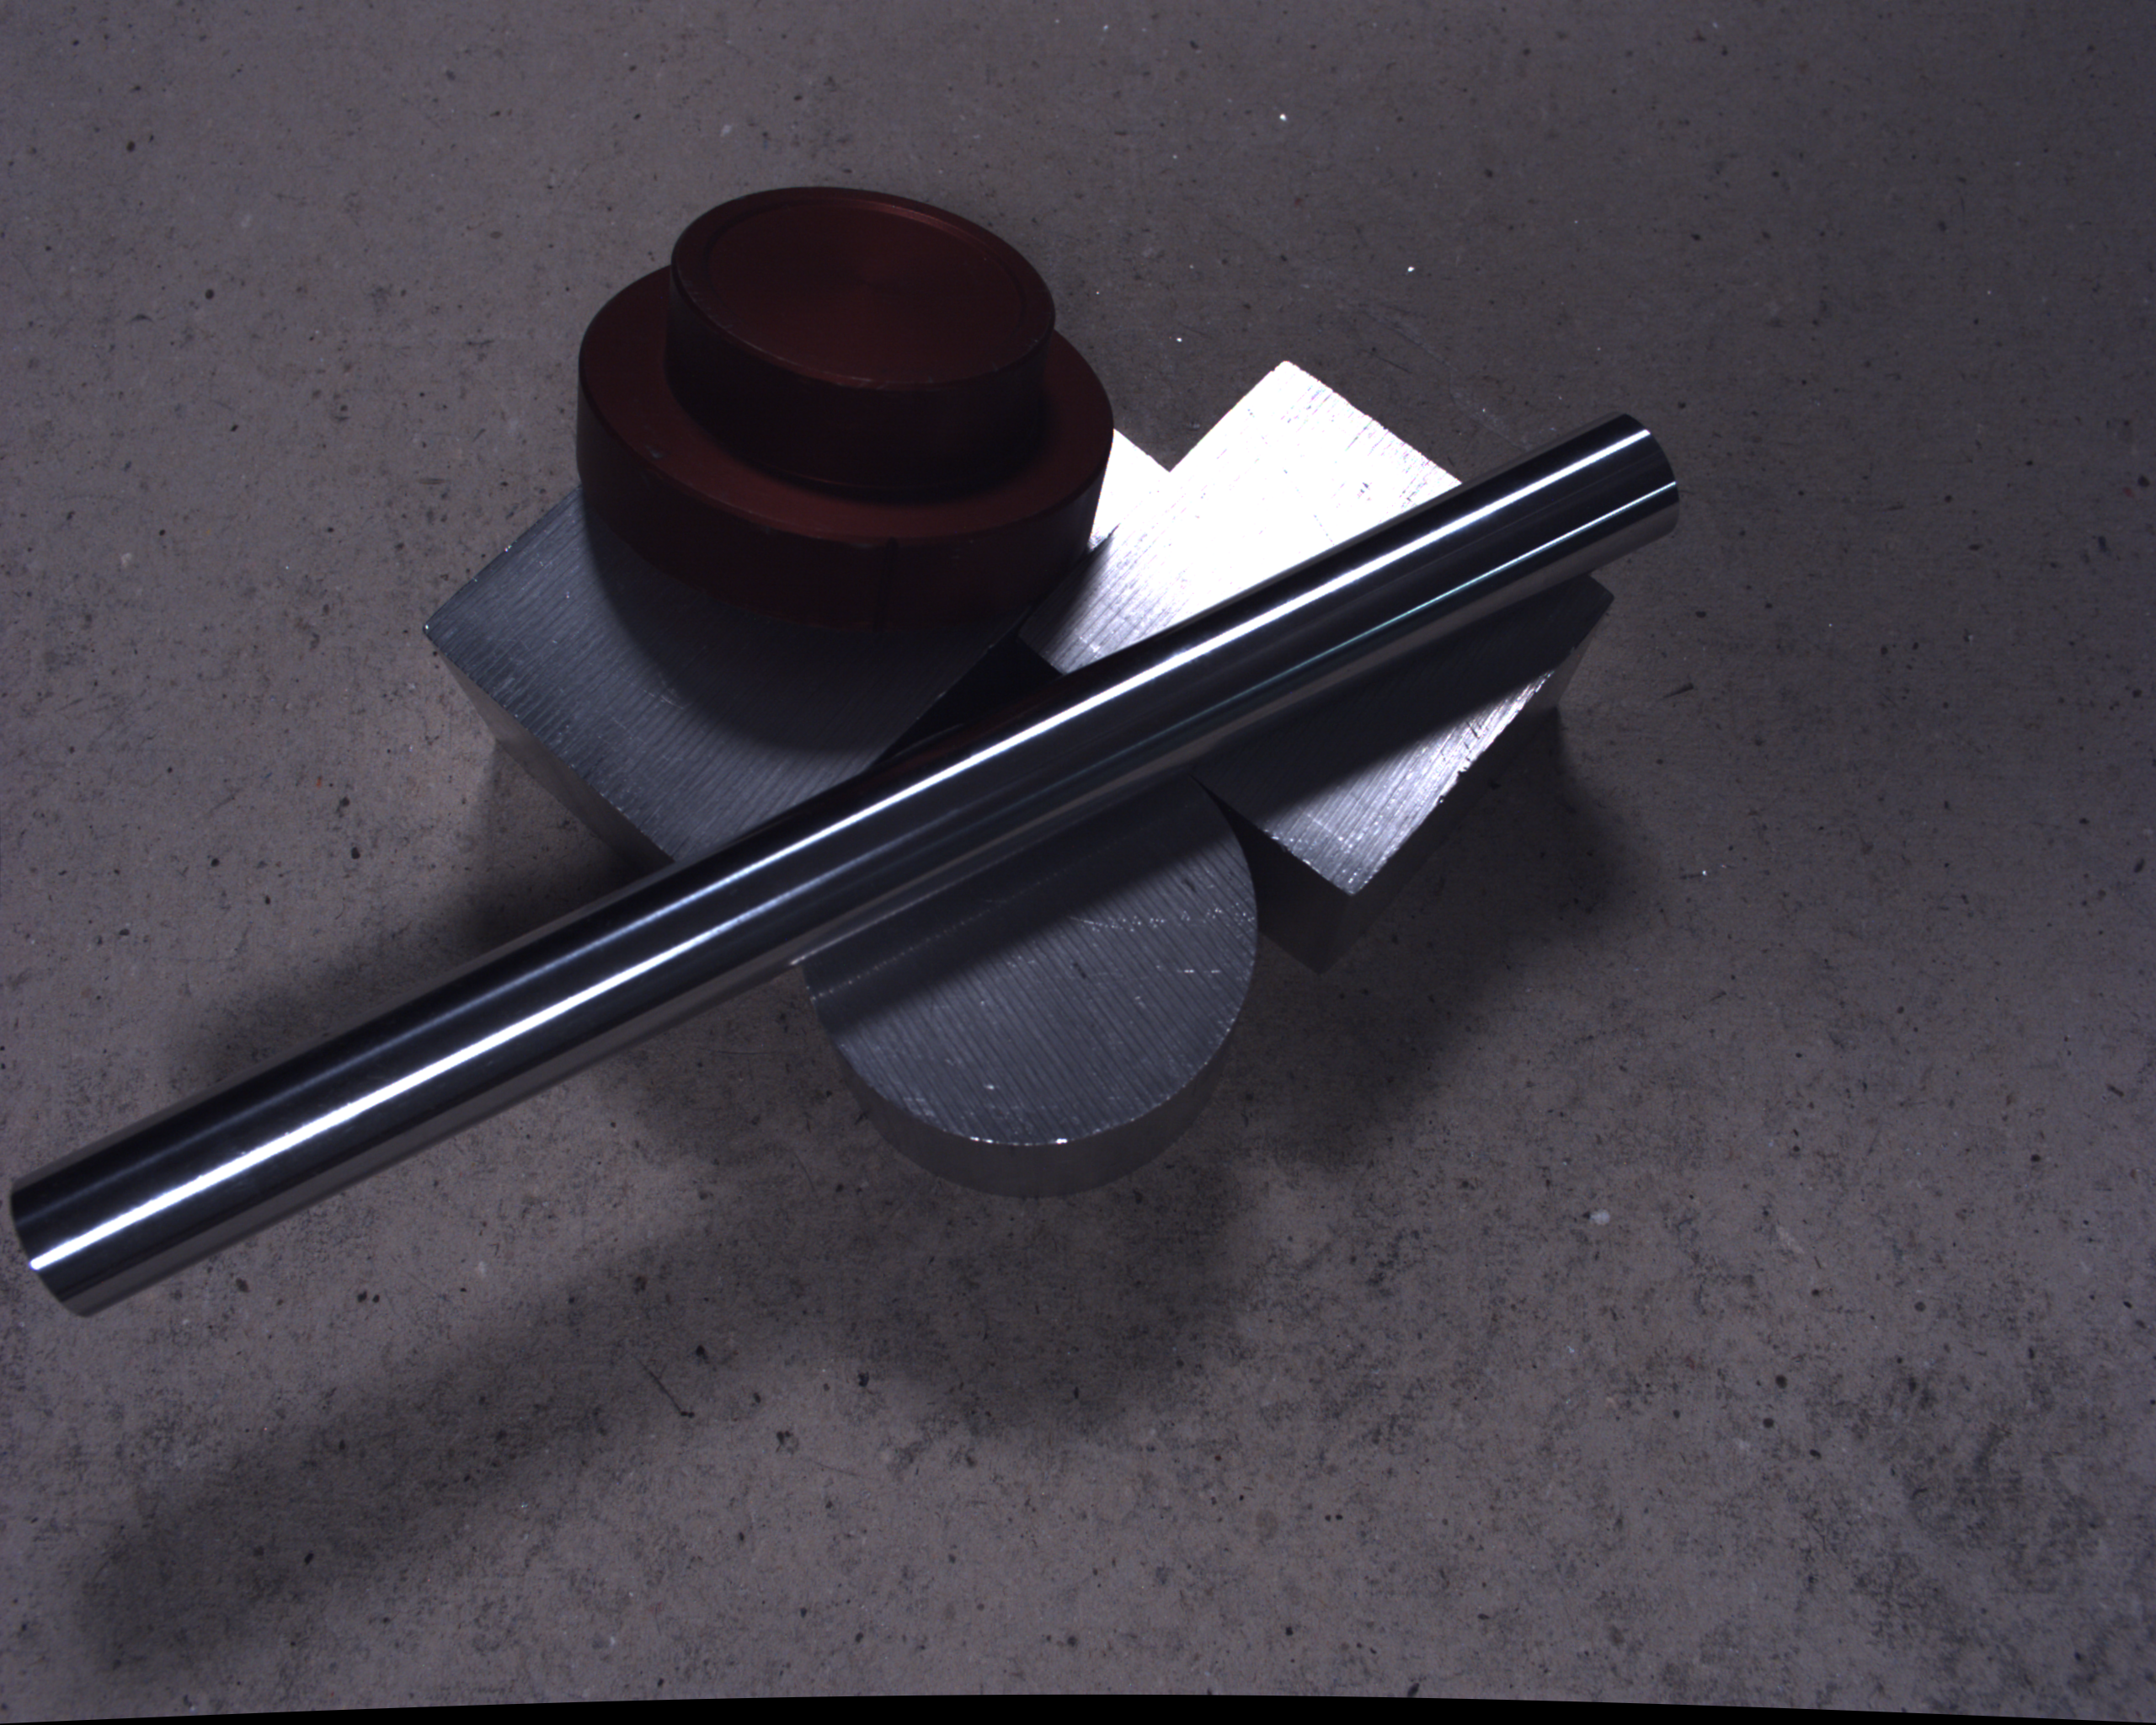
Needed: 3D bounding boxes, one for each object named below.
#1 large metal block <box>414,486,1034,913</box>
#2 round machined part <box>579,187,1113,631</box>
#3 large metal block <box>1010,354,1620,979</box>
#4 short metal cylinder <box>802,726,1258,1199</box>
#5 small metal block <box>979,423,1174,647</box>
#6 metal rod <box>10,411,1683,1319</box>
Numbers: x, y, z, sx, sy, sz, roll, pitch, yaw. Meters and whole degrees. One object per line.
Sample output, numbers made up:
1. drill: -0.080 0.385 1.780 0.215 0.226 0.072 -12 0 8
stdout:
1. large metal block: -0.065 -0.037 0.408 0.080 0.050 0.080 40 75 13
2. round machined part: -0.041 -0.089 0.385 0.099 0.042 0.098 8 43 -8
3. large metal block: 0.044 -0.038 0.411 0.080 0.050 0.080 40 74 13
4. short metal cylinder: -0.009 0.018 0.389 0.081 0.050 0.080 0 70 0
5. small metal block: -0.010 -0.070 0.434 0.050 0.025 0.050 41 75 13
6. metal rod: -0.030 -0.005 0.357 0.302 0.025 0.025 -27 73 -10
